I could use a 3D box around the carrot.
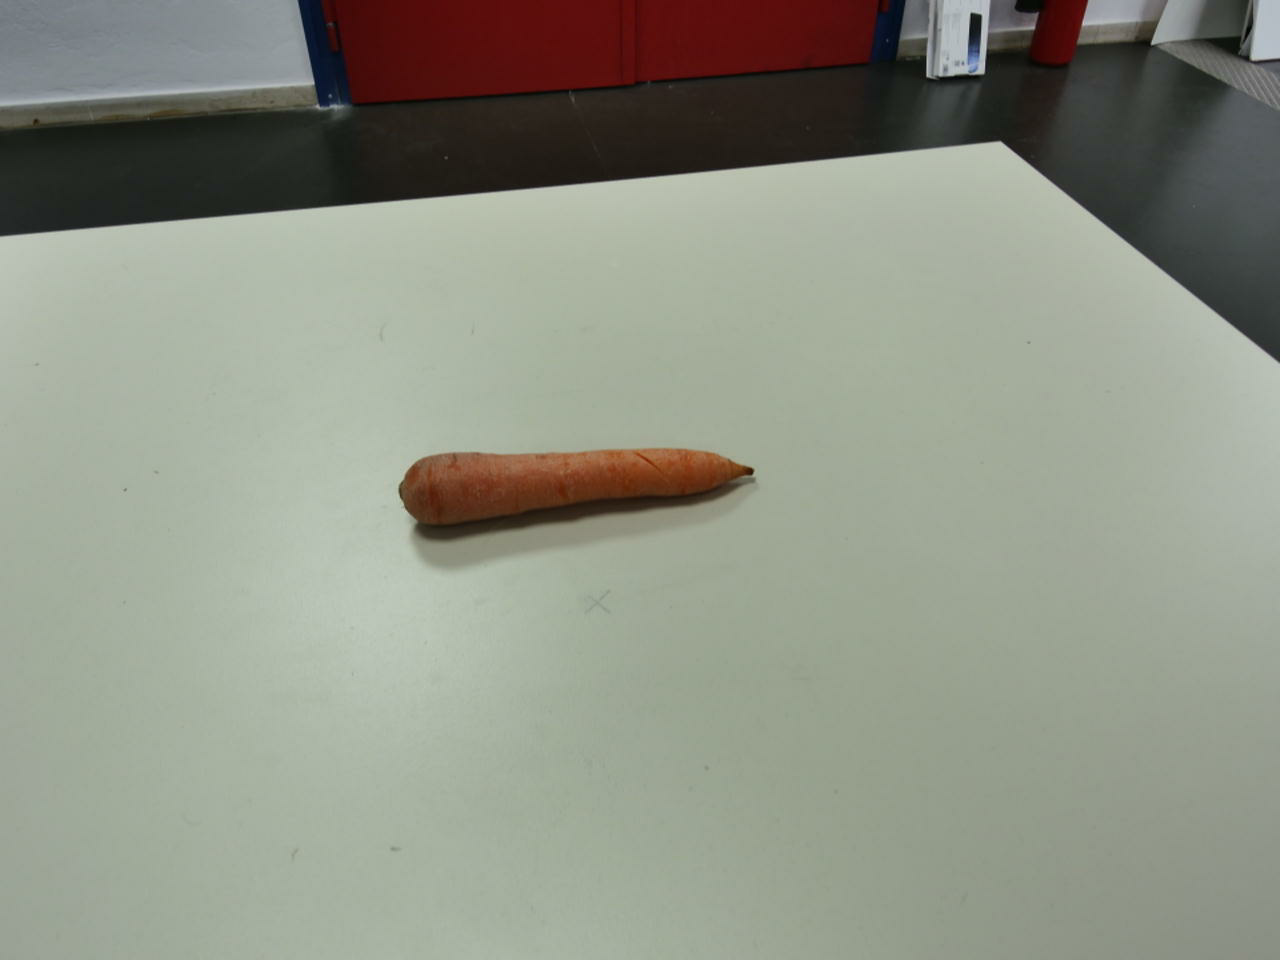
[{"bbox_3d":[-0.031,-0.005,0.548,0.196,0.041,0.039,-7,40,-10],"label":"carrot"}]
